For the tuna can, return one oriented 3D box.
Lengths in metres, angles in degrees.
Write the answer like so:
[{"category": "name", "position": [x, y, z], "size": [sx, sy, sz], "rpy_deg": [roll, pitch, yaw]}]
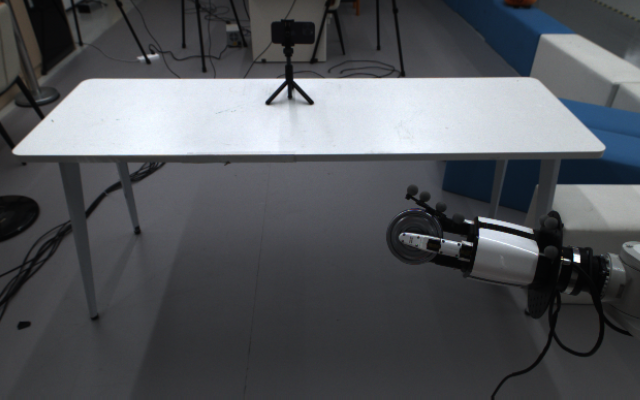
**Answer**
[{"category": "tuna can", "position": [0.149, 0.062, 0.740], "size": [0.085, 0.085, 0.034], "rpy_deg": [13, 4, 15]}]
